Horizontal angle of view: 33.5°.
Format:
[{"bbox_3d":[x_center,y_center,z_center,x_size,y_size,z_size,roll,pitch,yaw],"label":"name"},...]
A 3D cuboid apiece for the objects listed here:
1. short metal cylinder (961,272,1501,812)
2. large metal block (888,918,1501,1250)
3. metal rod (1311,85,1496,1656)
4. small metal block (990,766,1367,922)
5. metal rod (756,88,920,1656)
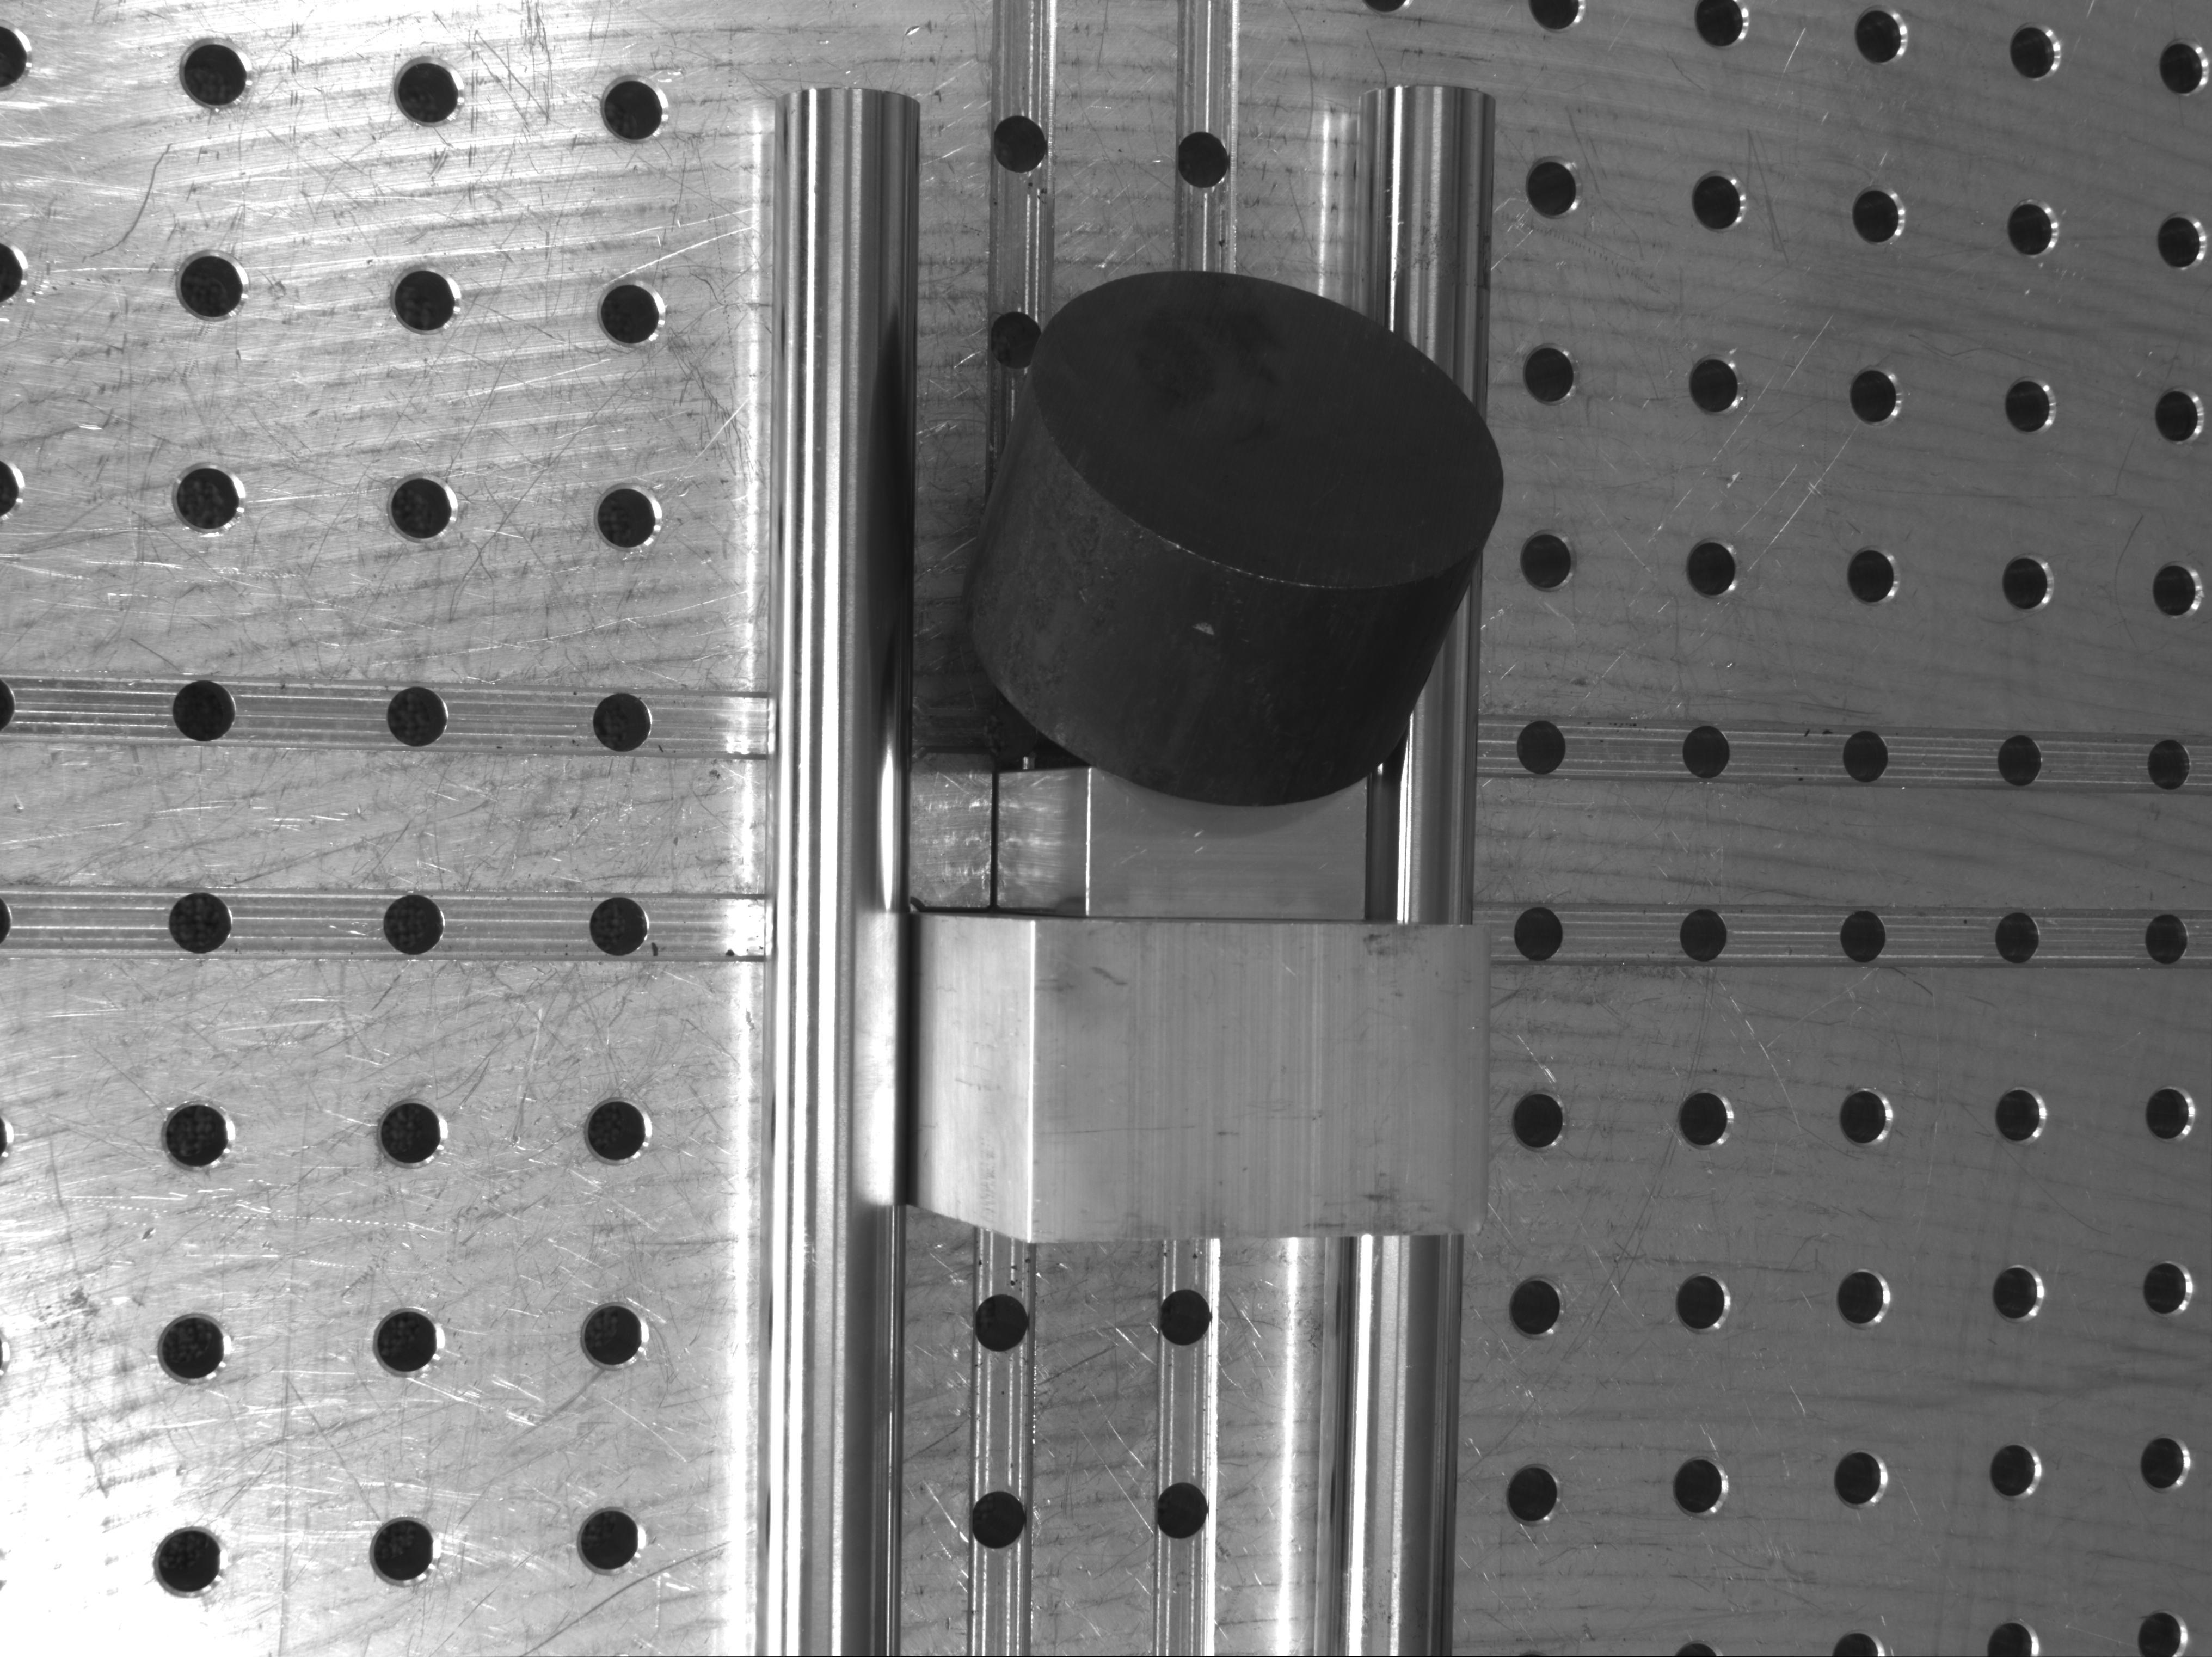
[{"bbox_3d":[0.020,-0.049,0.617,0.080,0.050,0.080,11,43,-10],"label":"short metal cylinder"},{"bbox_3d":[0.013,0.041,0.619,0.080,0.080,0.050,1,90,-20],"label":"large metal block"},{"bbox_3d":[0.054,0.018,0.665,0.025,0.025,0.300,2,89,-20],"label":"metal rod"},{"bbox_3d":[0.012,0.003,0.637,0.050,0.050,0.025,2,89,-20],"label":"small metal block"},{"bbox_3d":[-0.046,0.026,0.629,0.025,0.025,0.300,1,90,-20],"label":"metal rod"}]
